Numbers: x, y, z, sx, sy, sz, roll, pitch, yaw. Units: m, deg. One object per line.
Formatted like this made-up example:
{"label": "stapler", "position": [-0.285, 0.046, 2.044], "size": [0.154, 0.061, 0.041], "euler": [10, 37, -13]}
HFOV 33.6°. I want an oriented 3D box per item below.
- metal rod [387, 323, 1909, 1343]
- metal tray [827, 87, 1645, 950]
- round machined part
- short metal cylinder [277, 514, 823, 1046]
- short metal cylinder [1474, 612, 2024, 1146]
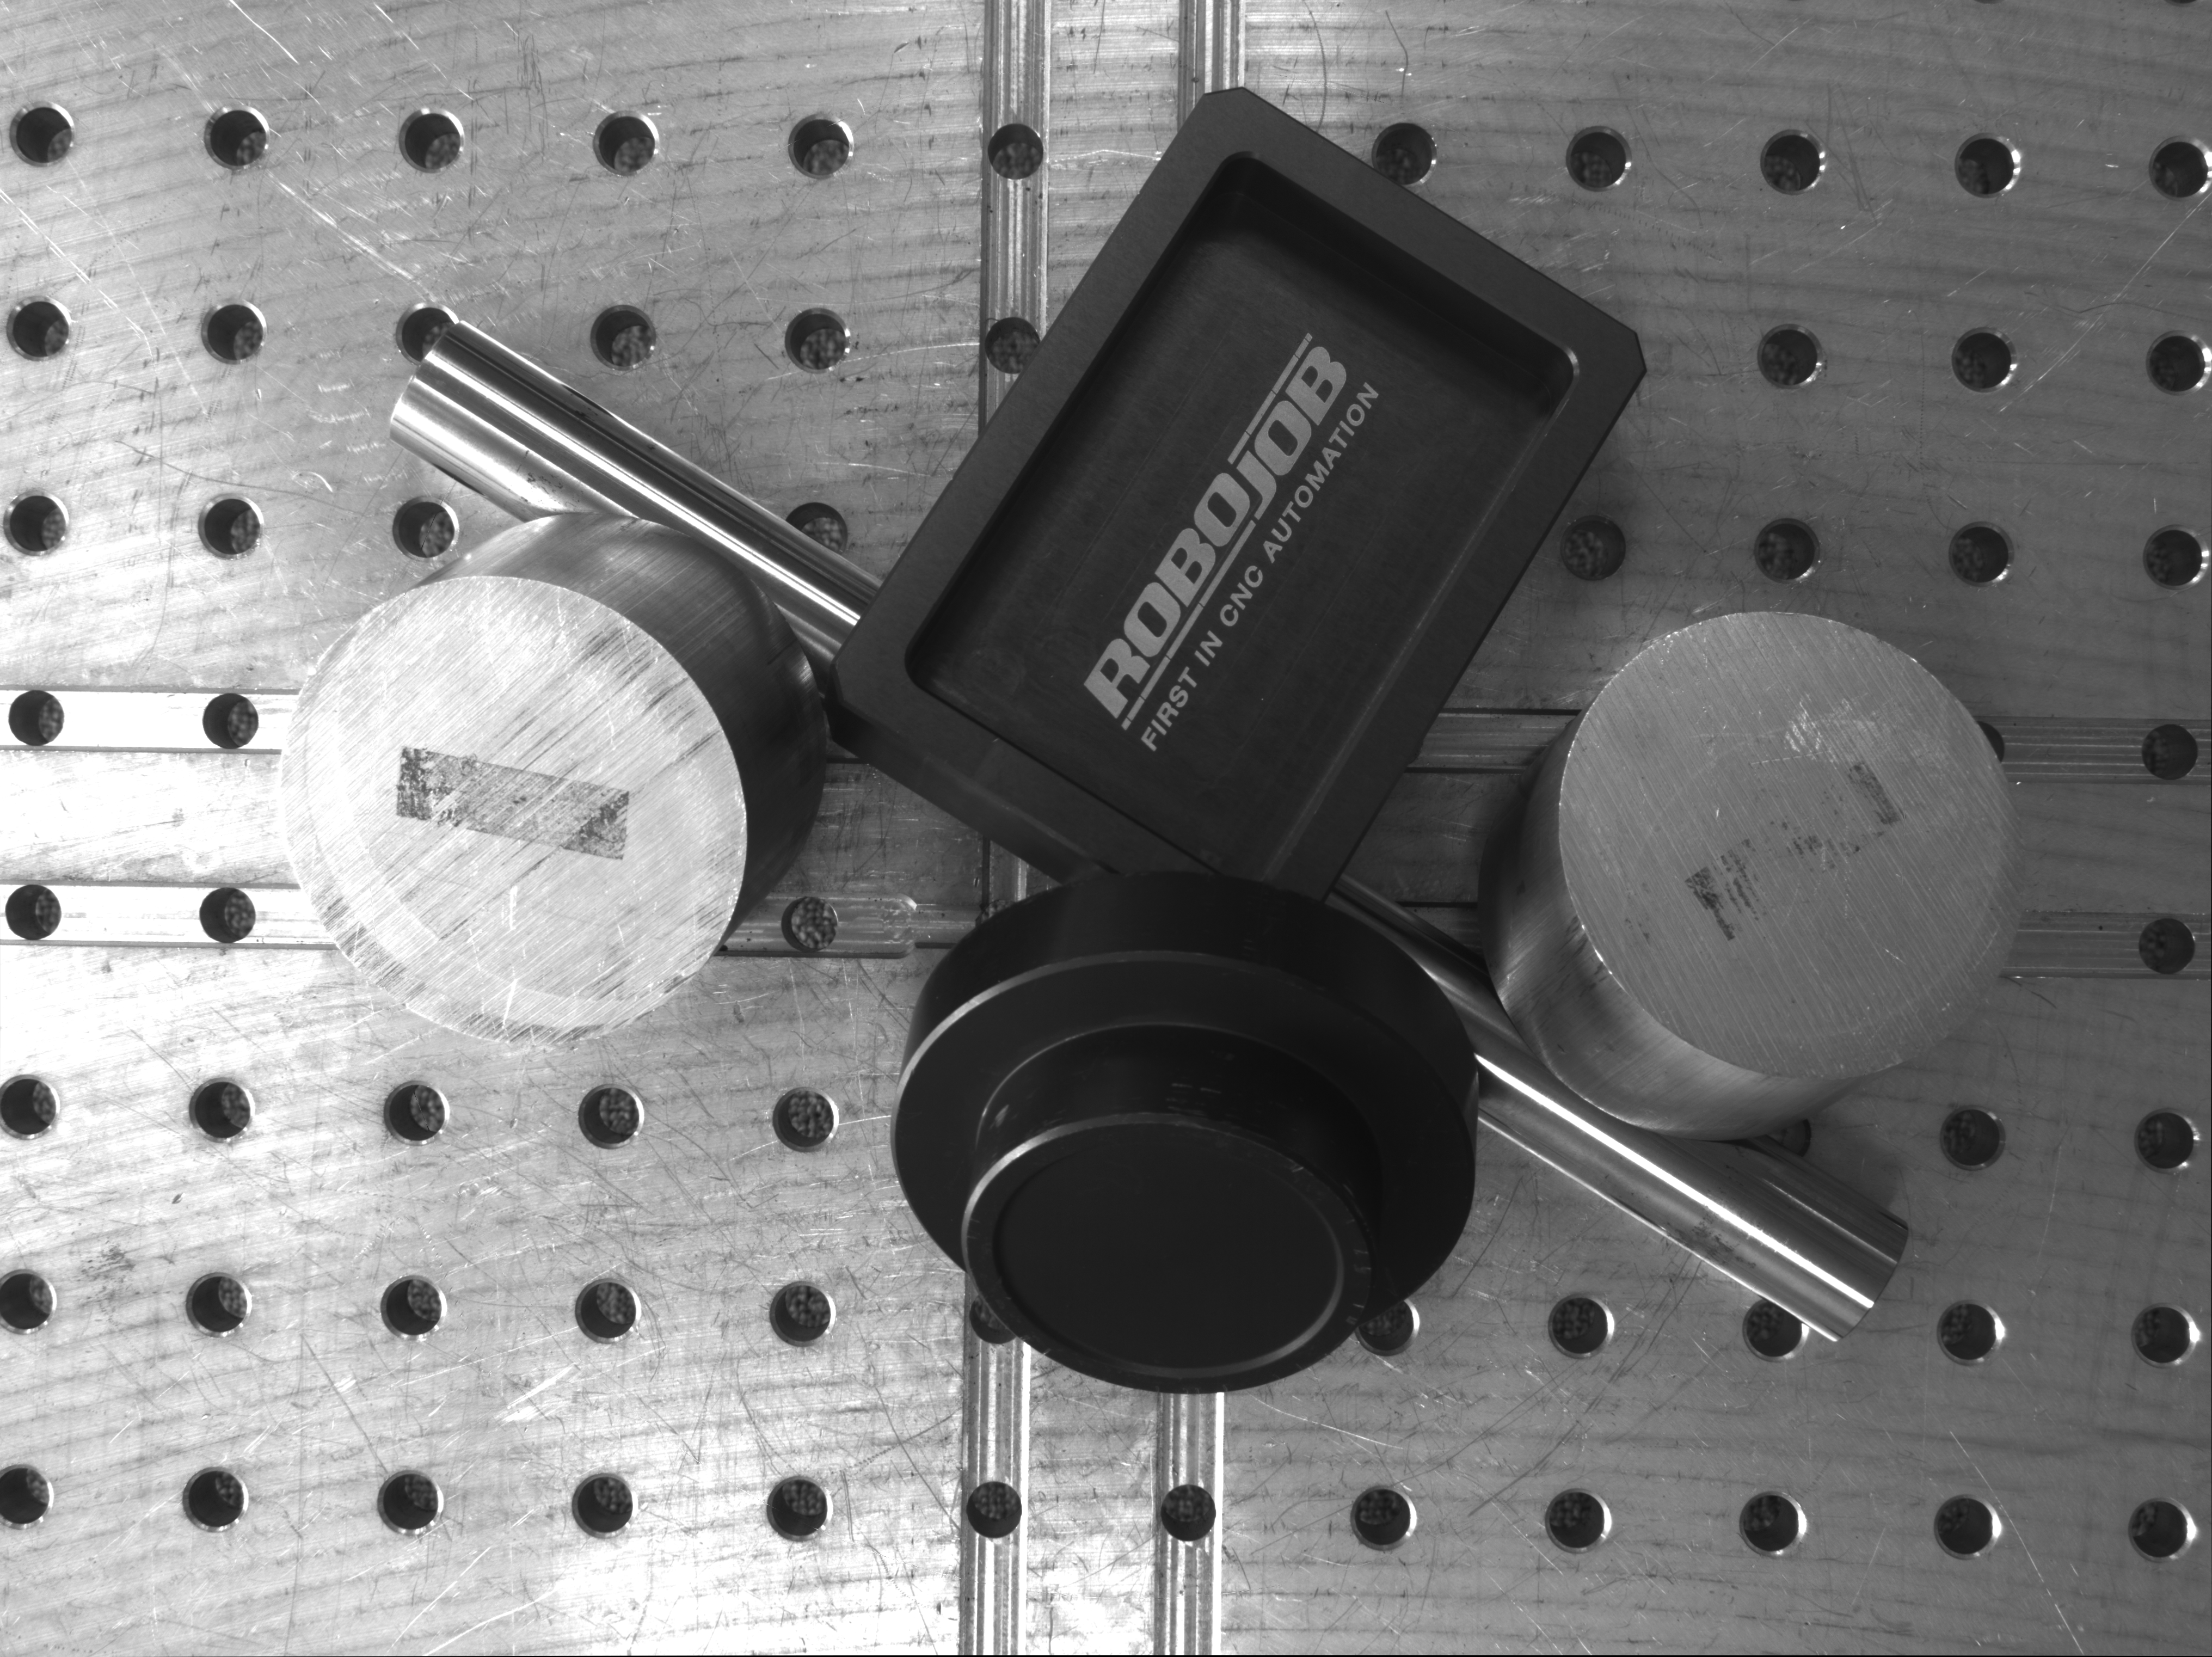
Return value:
{"label": "metal rod", "position": [0.007, 0.001, 0.648], "size": [0.300, 0.025, 0.025], "euler": [32, 90, 0]}
{"label": "metal tray", "position": [0.022, -0.050, 0.631], "size": [0.090, 0.030, 0.130], "euler": [32, 77, 0]}
{"label": "round machined part", "position": [0.012, 0.057, 0.612], "size": [0.098, 0.042, 0.098], "euler": [4, 132, 4]}
{"label": "short metal cylinder", "position": [-0.093, -0.009, 0.623], "size": [0.080, 0.050, 0.080], "euler": [3, 107, 10]}
{"label": "short metal cylinder", "position": [0.108, 0.009, 0.623], "size": [0.080, 0.050, 0.080], "euler": [3, 73, -10]}
